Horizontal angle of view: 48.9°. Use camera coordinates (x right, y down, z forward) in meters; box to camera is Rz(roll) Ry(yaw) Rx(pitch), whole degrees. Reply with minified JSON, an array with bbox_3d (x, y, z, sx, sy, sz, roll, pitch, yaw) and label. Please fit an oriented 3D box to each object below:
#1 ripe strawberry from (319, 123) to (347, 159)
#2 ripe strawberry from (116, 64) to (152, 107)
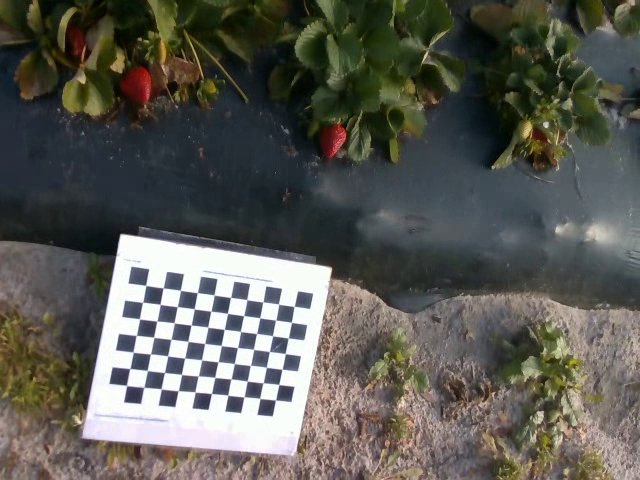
[{"bbox_3d":[0.011,-0.088,0.627,0.029,0.036,0.021,11,-8,-11],"label":"ripe strawberry"},{"bbox_3d":[-0.151,-0.126,0.573,0.031,0.030,0.026,-29,-10,-13],"label":"ripe strawberry"}]
